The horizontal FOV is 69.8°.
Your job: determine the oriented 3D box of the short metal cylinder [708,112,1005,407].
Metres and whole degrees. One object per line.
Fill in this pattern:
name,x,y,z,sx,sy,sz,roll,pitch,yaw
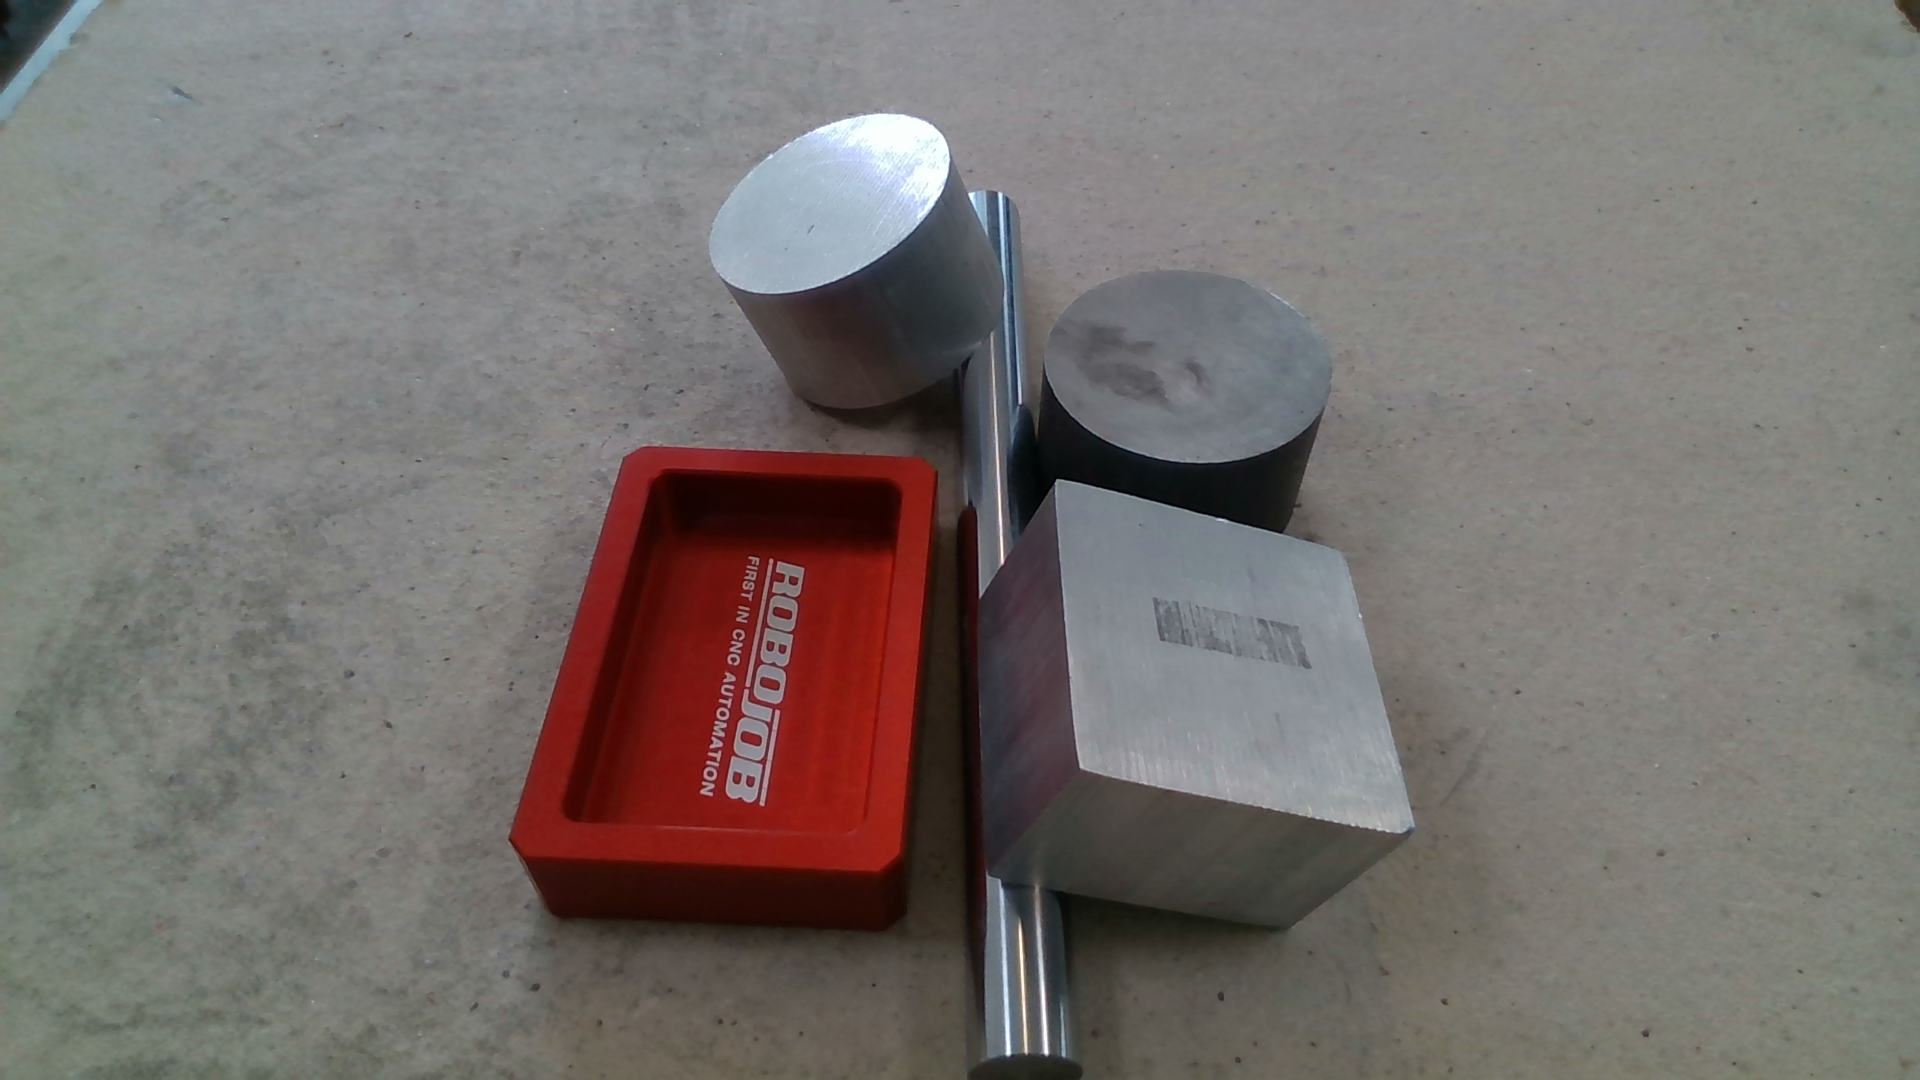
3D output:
short metal cylinder,-0.032,-0.089,0.436,0.080,0.050,0.080,-13,49,16

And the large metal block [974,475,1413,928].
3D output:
large metal block,0.051,0.039,0.329,0.080,0.050,0.080,13,48,-17

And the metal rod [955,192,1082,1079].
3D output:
metal rod,0.011,0.001,0.395,0.025,0.025,0.299,-1,50,-1

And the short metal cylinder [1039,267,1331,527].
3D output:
short metal cylinder,0.064,-0.035,0.407,0.080,0.050,0.080,0,50,0

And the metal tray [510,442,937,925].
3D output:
metal tray,-0.055,0.032,0.363,0.090,0.030,0.130,2,50,2
